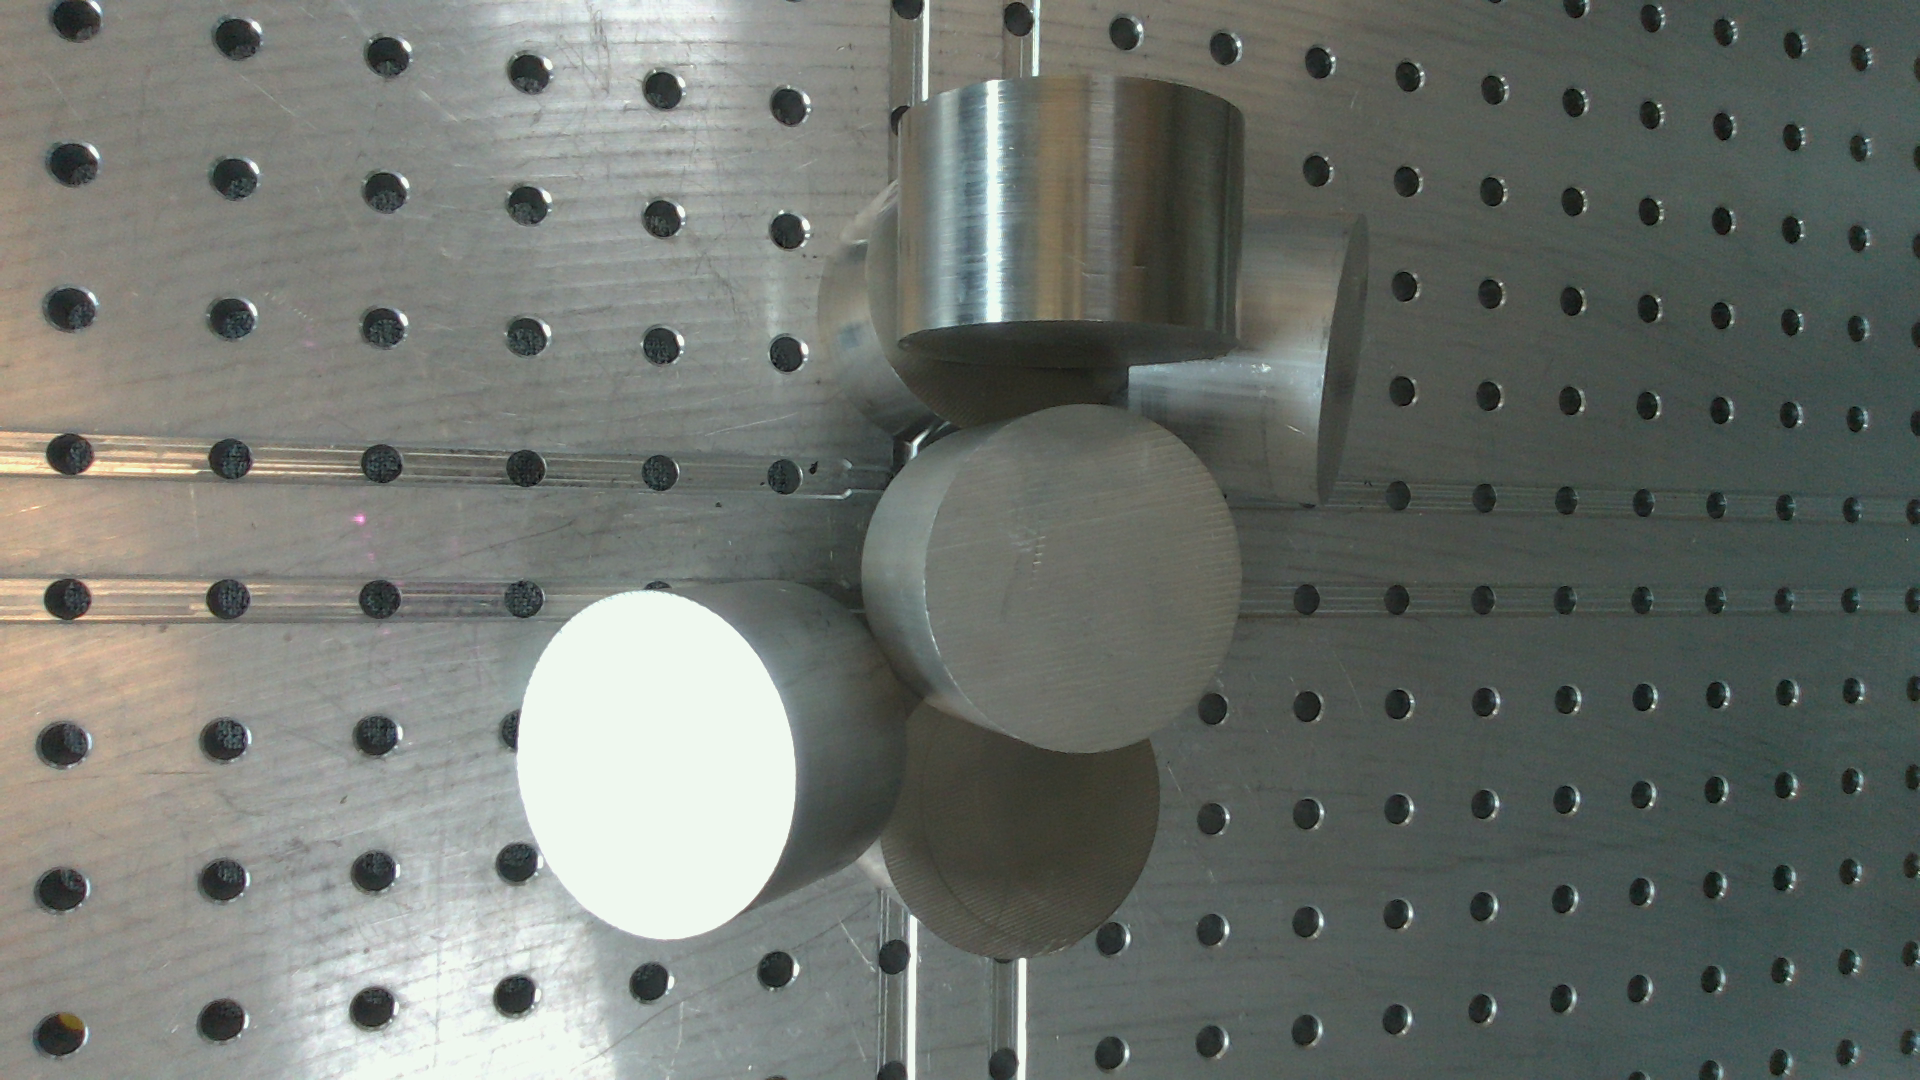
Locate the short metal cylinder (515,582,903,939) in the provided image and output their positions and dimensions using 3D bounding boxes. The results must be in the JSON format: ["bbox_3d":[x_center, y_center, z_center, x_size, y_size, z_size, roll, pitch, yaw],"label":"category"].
[{"bbox_3d":[-0.061,0.051,0.339,0.050,0.080,0.080,-4,92,-64],"label":"short metal cylinder"}]

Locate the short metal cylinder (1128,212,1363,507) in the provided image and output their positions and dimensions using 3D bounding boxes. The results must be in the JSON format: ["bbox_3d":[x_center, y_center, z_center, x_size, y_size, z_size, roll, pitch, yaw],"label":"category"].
[{"bbox_3d":[0.083,-0.052,0.390,0.050,0.080,0.080,9,86,21],"label":"short metal cylinder"}]

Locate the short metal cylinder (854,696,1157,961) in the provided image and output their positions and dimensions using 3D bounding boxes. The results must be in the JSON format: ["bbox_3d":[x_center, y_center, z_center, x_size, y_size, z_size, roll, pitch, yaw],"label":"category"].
[{"bbox_3d":[0.008,0.070,0.385,0.080,0.050,0.080,0,91,-20],"label":"short metal cylinder"}]

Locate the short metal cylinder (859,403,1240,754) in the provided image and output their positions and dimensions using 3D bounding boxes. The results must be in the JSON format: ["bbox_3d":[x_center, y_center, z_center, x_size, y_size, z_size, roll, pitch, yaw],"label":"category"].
[{"bbox_3d":[0.021,0.009,0.336,0.080,0.050,0.080,0,90,-20],"label":"short metal cylinder"}]

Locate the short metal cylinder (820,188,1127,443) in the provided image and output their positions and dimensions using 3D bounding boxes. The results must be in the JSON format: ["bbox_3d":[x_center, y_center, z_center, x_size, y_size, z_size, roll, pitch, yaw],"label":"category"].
[{"bbox_3d":[0.005,-0.067,0.384,0.080,0.050,0.080,0,91,-20],"label":"short metal cylinder"}]

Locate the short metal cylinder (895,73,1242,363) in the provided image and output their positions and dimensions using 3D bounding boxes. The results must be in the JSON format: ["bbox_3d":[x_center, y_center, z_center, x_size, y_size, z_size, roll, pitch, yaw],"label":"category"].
[{"bbox_3d":[0.025,-0.071,0.322,0.080,0.080,0.050,0,90,-20],"label":"short metal cylinder"}]
